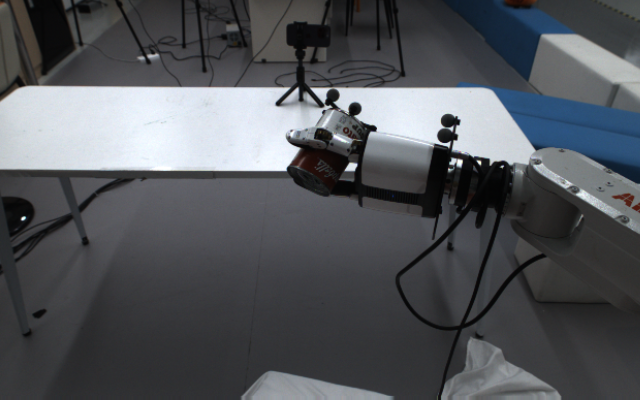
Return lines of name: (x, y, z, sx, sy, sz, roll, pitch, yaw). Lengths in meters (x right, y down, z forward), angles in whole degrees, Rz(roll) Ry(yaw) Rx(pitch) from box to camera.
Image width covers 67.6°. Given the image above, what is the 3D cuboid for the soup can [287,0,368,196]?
soup can: (0.011, -0.065, 0.651, 0.067, 0.067, 0.101, 23, 73, 28)
